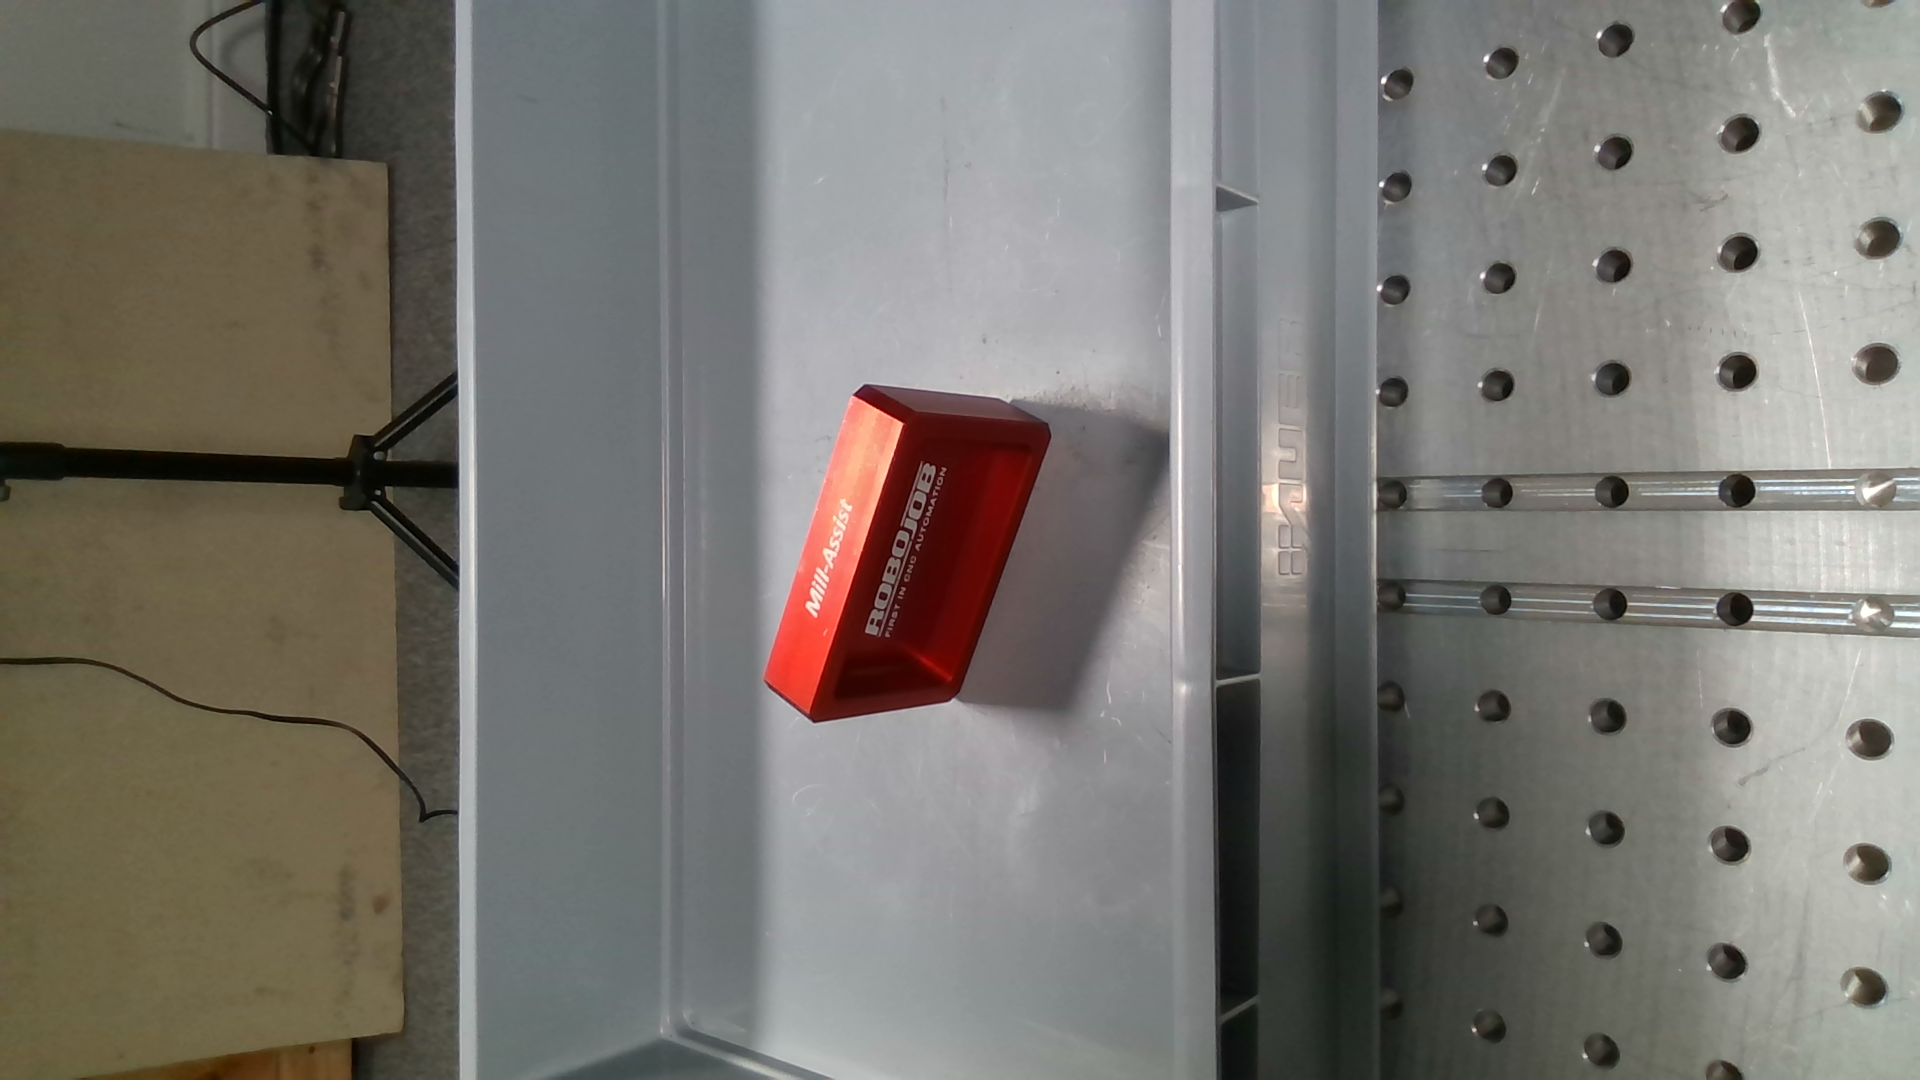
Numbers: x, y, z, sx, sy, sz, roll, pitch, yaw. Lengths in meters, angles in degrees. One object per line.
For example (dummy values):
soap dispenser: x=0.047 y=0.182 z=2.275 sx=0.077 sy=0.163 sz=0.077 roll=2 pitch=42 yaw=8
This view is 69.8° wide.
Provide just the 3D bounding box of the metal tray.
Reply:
metal tray: x=-0.022 y=0.006 z=0.554 sx=0.030 sy=0.090 sz=0.130 roll=32 pitch=111 yaw=36
